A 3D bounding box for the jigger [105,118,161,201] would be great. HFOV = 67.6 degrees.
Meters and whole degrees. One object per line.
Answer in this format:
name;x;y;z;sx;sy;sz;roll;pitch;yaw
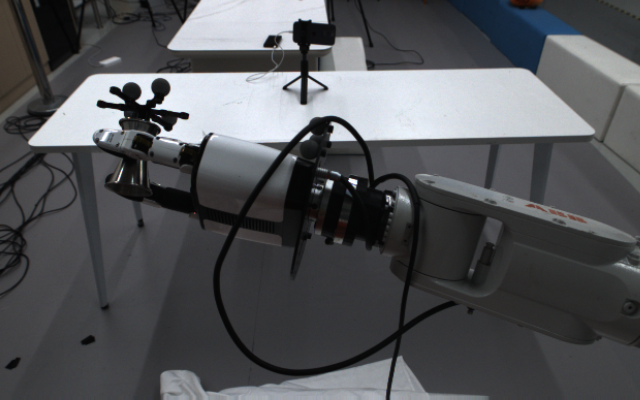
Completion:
jigger;-0.184;-0.041;0.479;0.043;0.043;0.071;3;75;2
